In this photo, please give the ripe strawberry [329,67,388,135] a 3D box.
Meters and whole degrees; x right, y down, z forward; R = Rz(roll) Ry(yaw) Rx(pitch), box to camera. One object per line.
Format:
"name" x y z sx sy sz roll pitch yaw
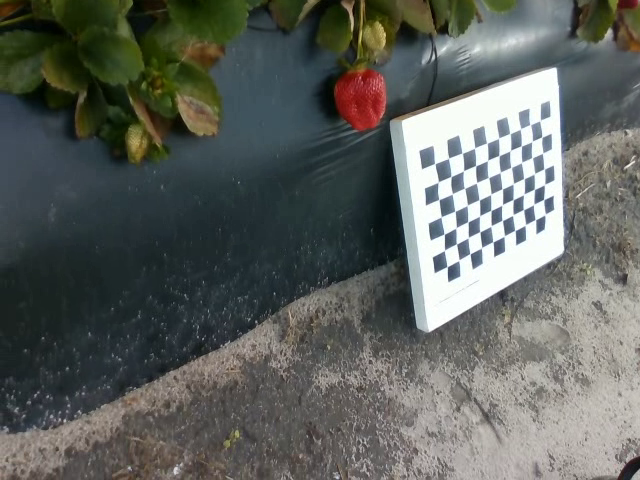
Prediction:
"ripe strawberry" 0.046 -0.161 0.658 0.067 0.075 0.039 -18 19 -28
